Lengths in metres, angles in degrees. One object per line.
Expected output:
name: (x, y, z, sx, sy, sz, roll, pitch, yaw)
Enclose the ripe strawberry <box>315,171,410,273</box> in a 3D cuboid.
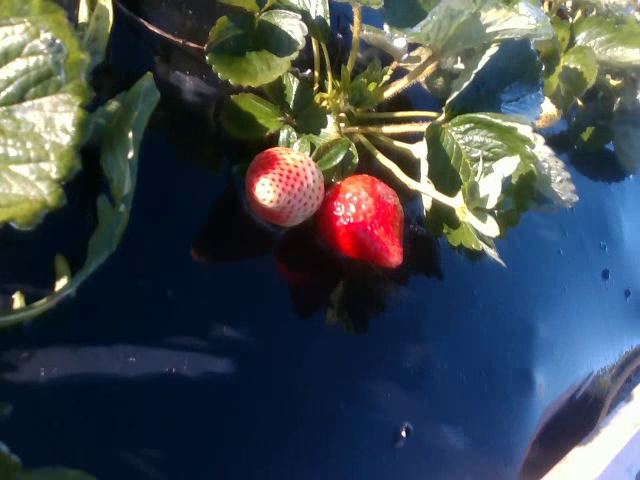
ripe strawberry: (0.024, -0.004, 0.241, 0.040, 0.038, 0.056, -17, 28, -16)
